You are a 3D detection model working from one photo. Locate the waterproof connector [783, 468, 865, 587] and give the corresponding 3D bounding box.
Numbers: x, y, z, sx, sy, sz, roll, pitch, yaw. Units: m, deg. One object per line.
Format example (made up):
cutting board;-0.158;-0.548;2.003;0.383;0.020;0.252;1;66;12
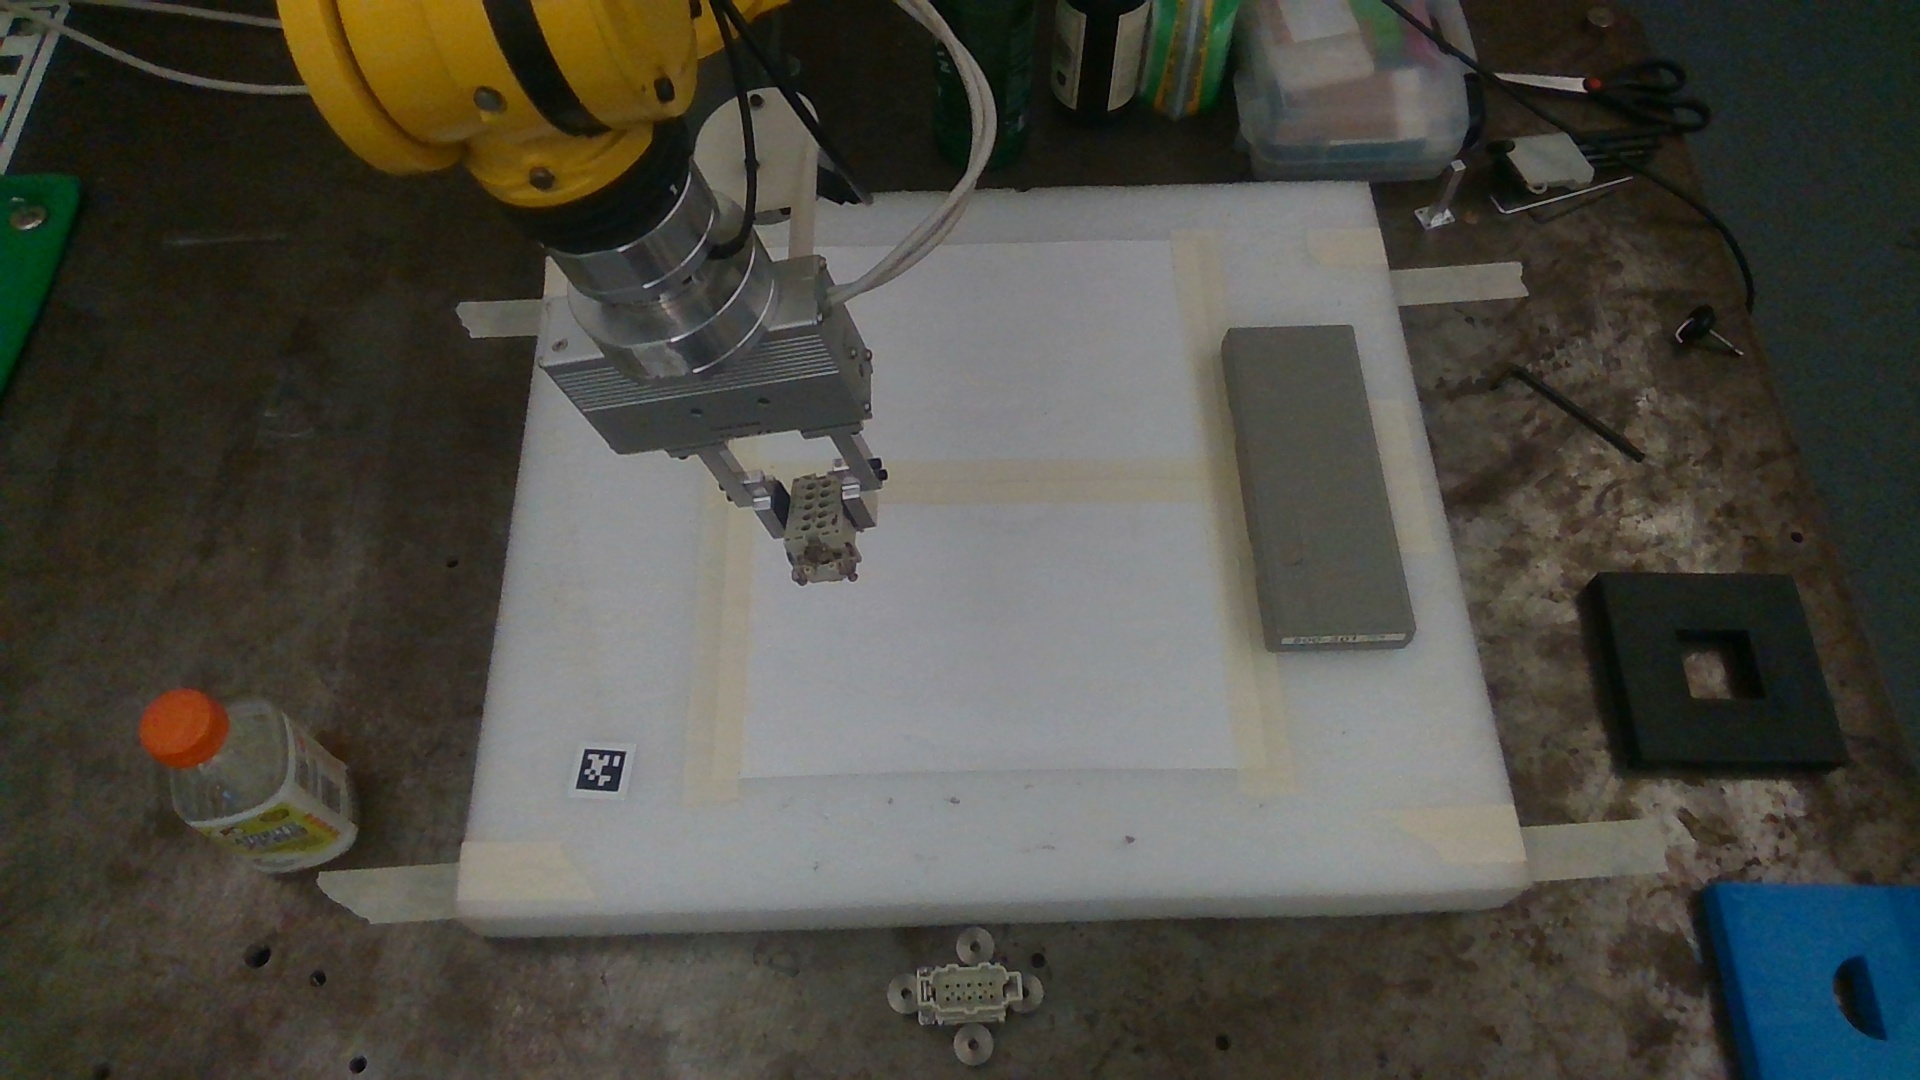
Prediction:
waterproof connector;-0.068;-0.006;0.715;0.037;0.038;0.069;-10;44;10
